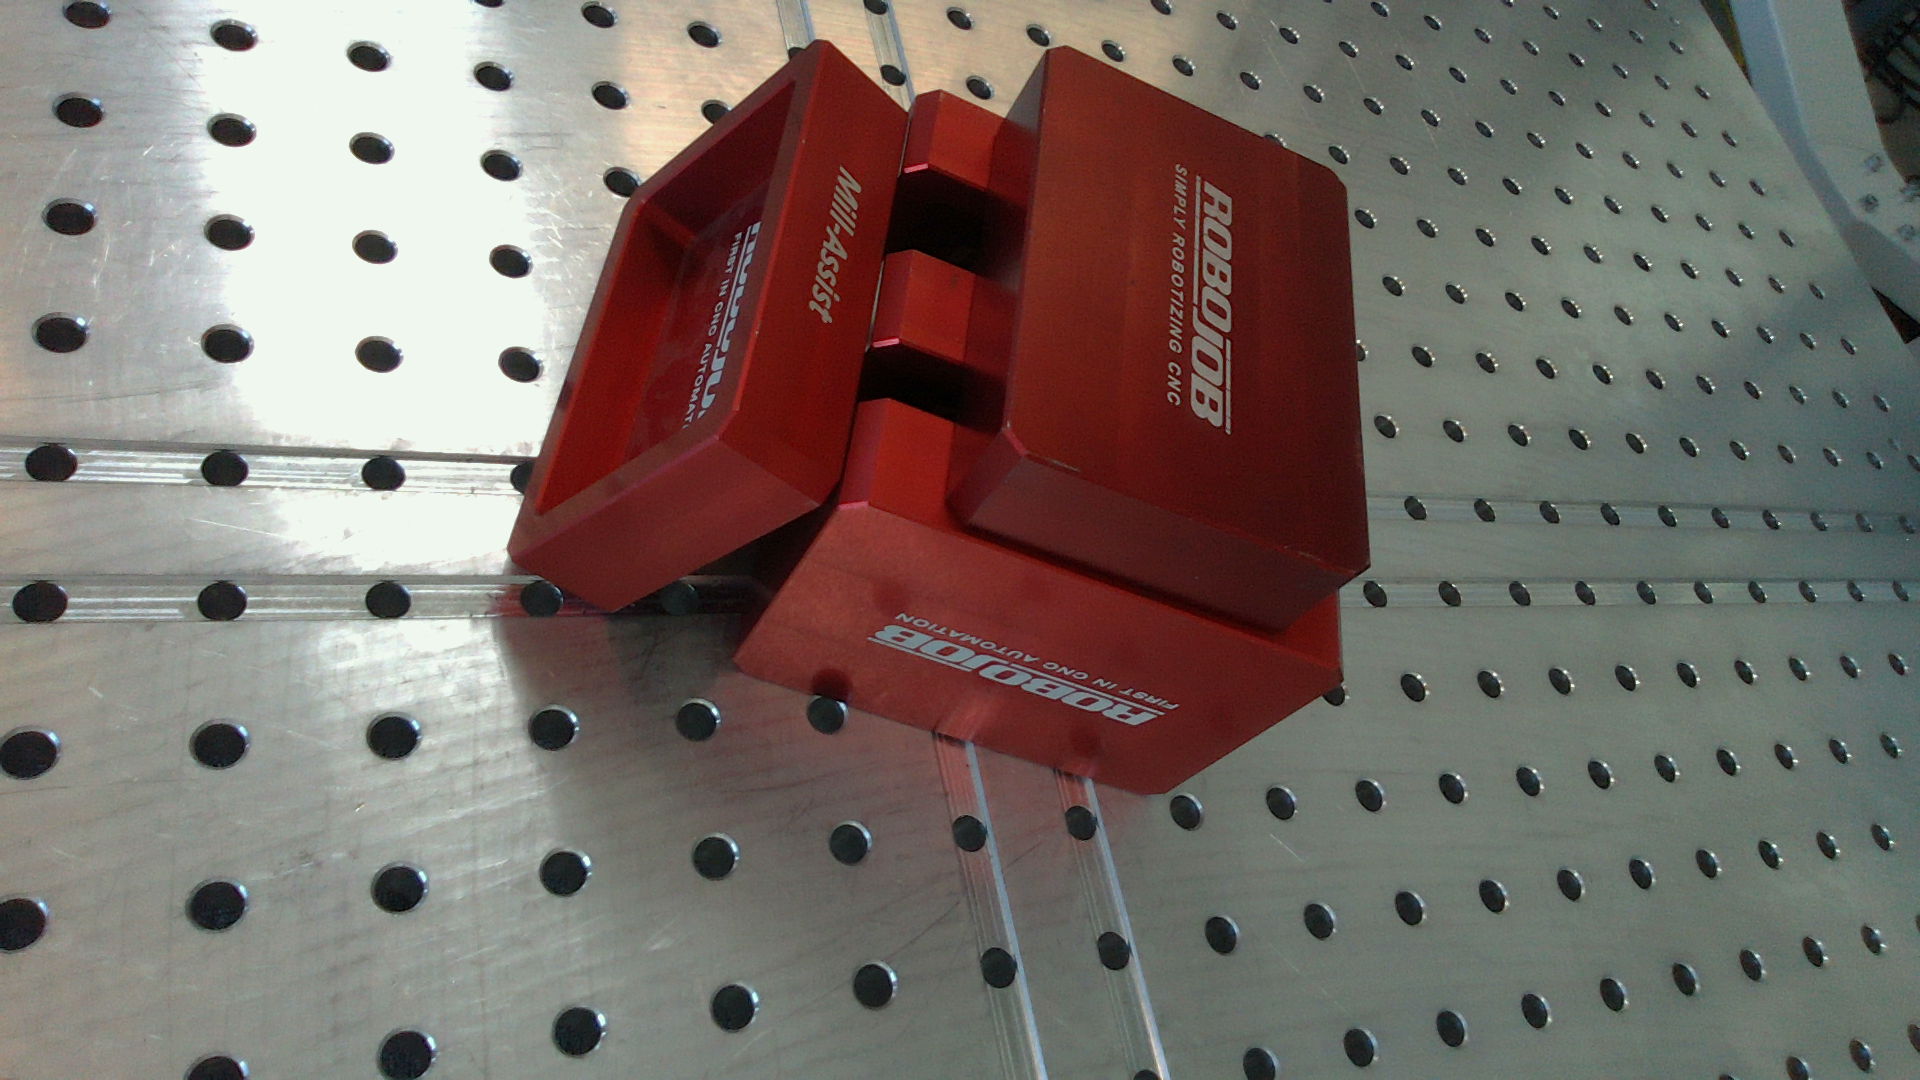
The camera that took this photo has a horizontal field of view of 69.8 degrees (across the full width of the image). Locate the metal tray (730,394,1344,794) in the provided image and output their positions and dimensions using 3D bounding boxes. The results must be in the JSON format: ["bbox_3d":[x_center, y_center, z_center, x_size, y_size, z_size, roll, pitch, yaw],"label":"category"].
[{"bbox_3d":[0.018,0.020,0.348,0.130,0.090,0.030,20,54,-17],"label":"metal tray"}]

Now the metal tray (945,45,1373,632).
[{"bbox_3d":[0.050,-0.051,0.331,0.090,0.030,0.130,19,54,-17],"label":"metal tray"}]

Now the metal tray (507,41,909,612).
[{"bbox_3d":[-0.062,-0.055,0.348,0.030,0.090,0.130,34,47,-34],"label":"metal tray"}]

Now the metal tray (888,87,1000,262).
[{"bbox_3d":[0.030,-0.068,0.407,0.130,0.090,0.030,19,55,-17],"label":"metal tray"}]

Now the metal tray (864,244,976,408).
[{"bbox_3d":[0.023,-0.019,0.373,0.130,0.090,0.030,19,53,-18],"label":"metal tray"}]
